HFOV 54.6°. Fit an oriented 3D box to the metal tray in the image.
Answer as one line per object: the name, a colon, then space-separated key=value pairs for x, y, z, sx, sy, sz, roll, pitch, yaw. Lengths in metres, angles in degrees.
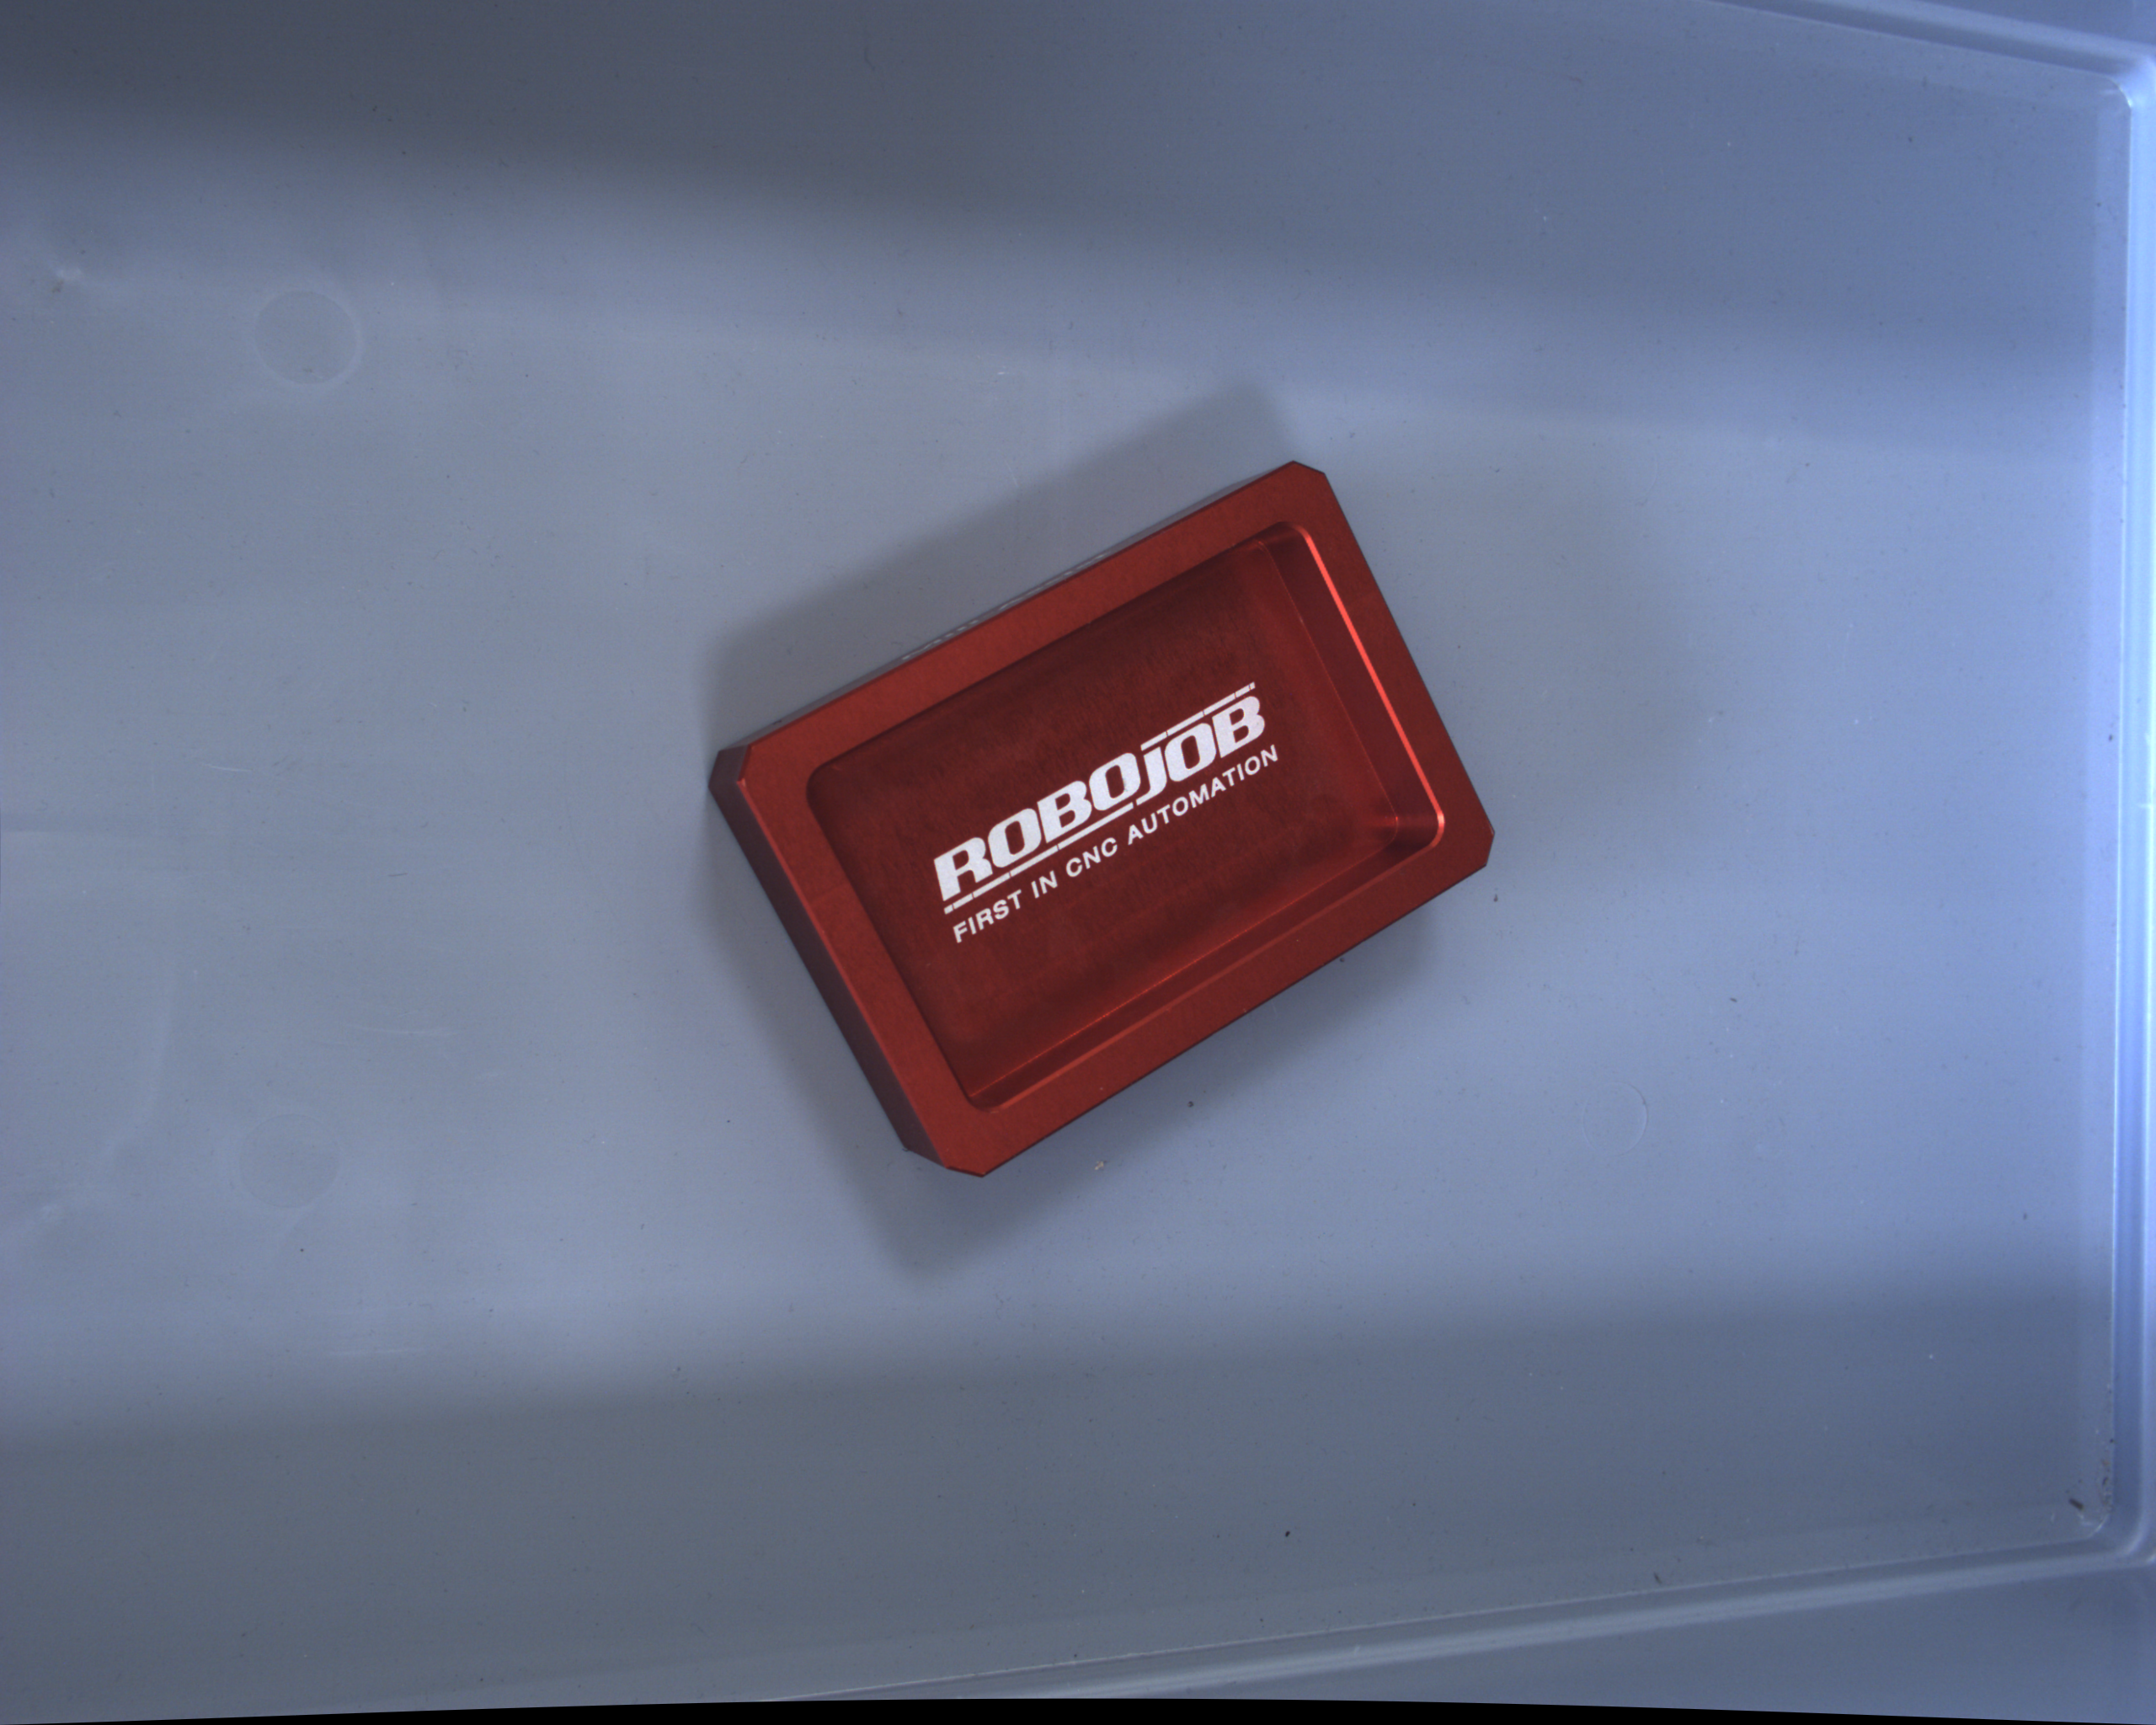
metal tray: x=0.007 y=-0.010 z=0.407 sx=0.131 sy=0.030 sz=0.090 roll=-30 pitch=100 yaw=-18
